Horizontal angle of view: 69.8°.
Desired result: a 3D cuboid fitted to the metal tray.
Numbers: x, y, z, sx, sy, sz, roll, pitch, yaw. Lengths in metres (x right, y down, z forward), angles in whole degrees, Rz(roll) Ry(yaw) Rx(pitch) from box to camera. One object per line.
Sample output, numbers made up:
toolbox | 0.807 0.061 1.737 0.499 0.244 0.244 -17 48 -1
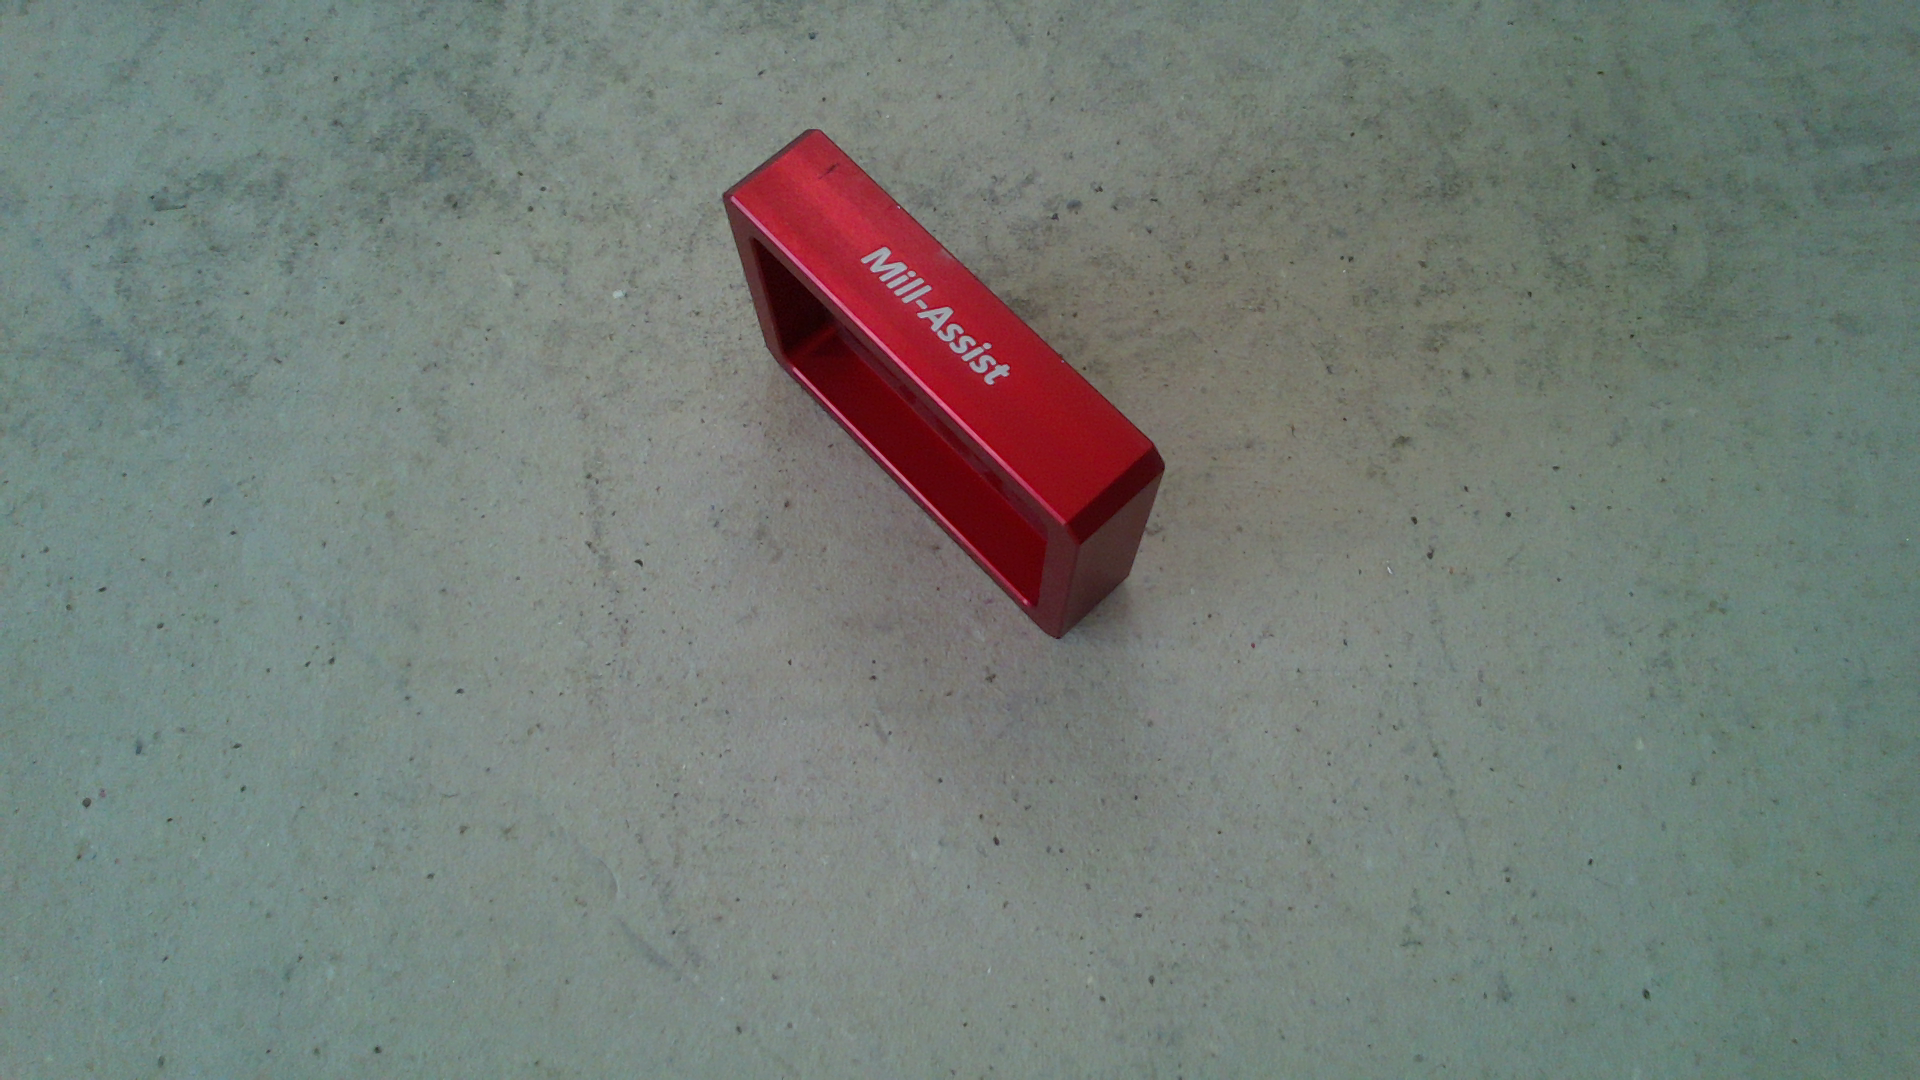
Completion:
metal tray | -0.006 -0.039 0.374 0.030 0.090 0.130 -41 76 -13
